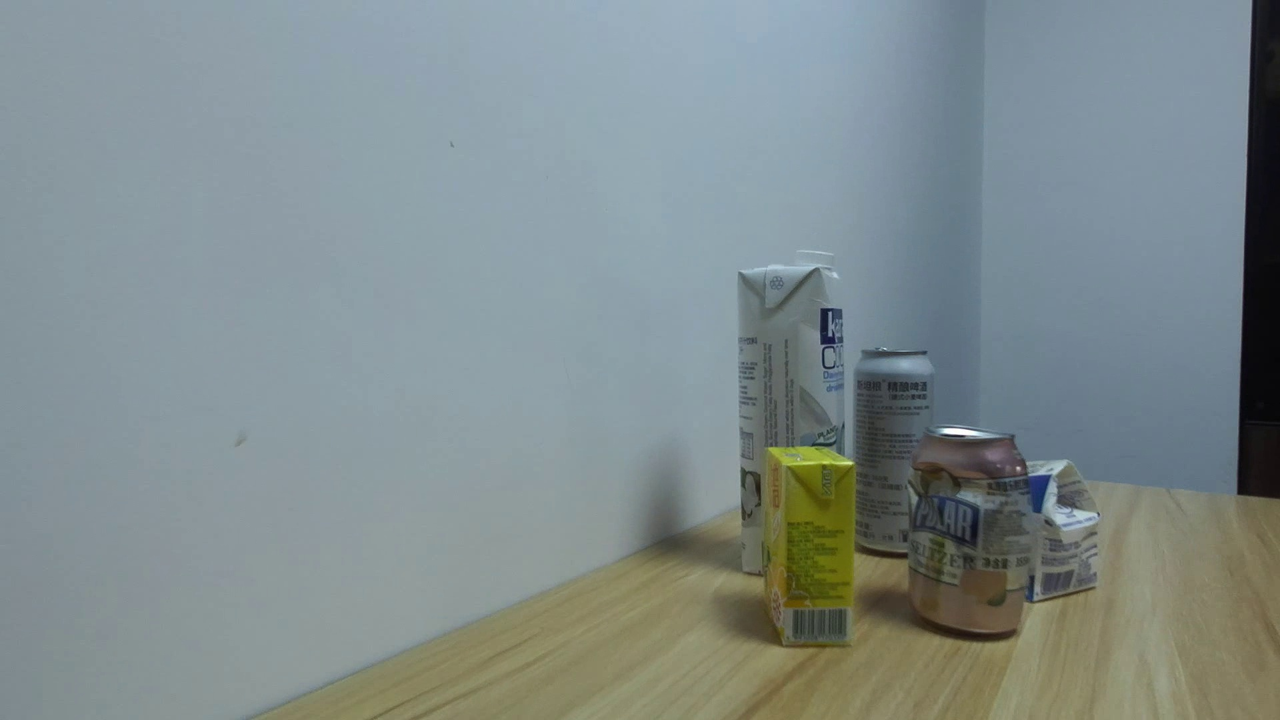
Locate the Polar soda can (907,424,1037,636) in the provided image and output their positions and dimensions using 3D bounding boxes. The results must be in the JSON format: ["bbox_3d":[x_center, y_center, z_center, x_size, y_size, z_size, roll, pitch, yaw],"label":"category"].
[{"bbox_3d":[0.209,0.107,0.453,0.067,0.121,0.074,1,3,11],"label":"Polar soda can"}]

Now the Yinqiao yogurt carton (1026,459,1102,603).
[{"bbox_3d":[0.285,0.116,0.520,0.077,0.093,0.083,-2,2,-25],"label":"Yinqiao yogurt carton"}]

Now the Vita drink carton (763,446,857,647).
[{"bbox_3d":[0.104,0.112,0.441,0.043,0.109,0.066,1,3,-2],"label":"Vita drink carton"}]

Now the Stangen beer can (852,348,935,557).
[{"bbox_3d":[0.217,0.076,0.603,0.067,0.171,0.067,0,1,0],"label":"Stangen beer can"}]
